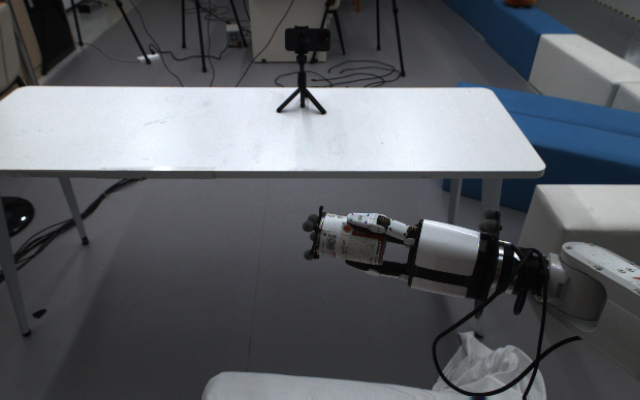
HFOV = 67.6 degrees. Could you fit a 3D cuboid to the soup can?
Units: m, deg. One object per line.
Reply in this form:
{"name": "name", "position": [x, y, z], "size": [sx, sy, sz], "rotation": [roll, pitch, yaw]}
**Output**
{"name": "soup can", "position": [0.053, 0.061, 0.746], "size": [0.101, 0.067, 0.067], "rotation": [9, 35, 9]}
